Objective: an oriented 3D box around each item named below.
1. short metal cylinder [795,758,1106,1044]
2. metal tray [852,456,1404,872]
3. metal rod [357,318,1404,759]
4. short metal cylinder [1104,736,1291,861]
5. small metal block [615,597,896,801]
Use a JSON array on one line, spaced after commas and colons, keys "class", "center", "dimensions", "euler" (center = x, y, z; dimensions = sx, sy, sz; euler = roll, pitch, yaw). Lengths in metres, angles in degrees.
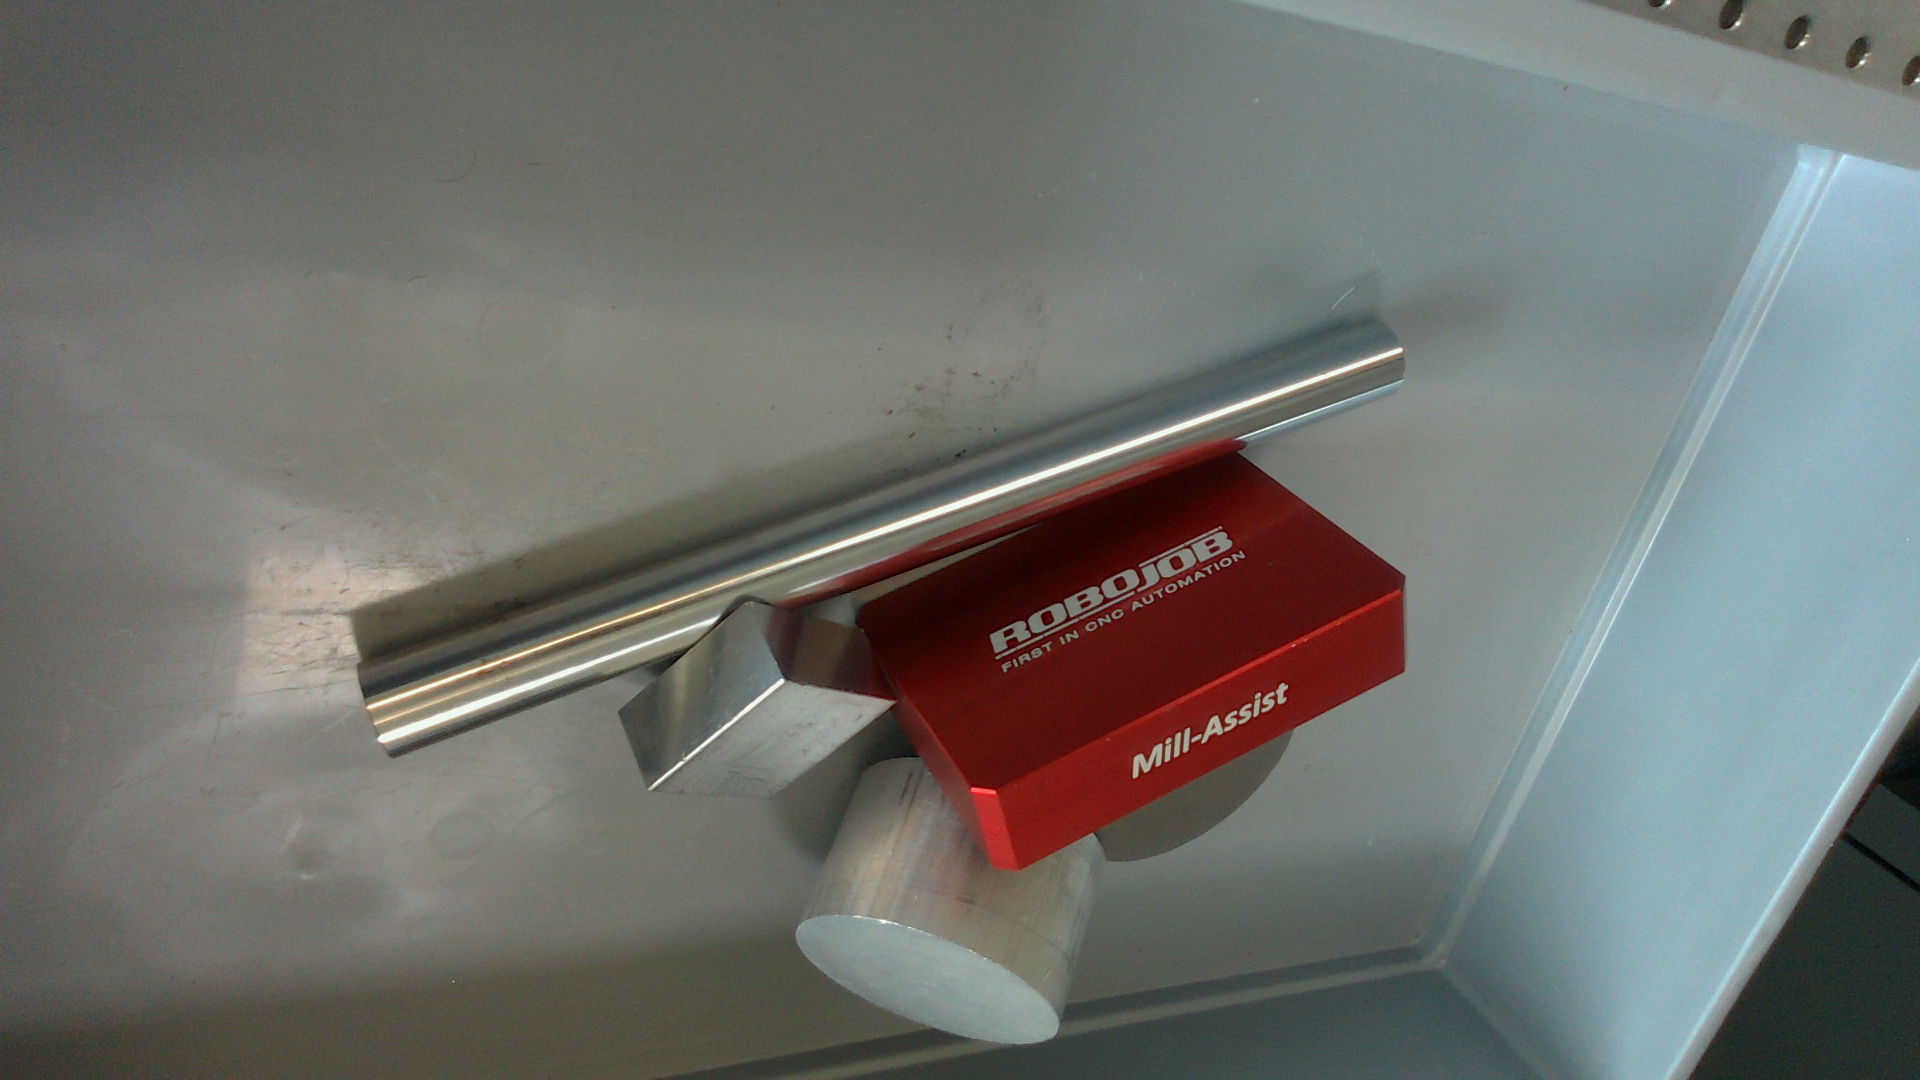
[{"class": "short metal cylinder", "center": [-0.002, 0.108, 0.408], "dimensions": [0.080, 0.080, 0.050], "euler": [56, 44, -39]}, {"class": "metal tray", "center": [0.046, 0.028, 0.388], "dimensions": [0.130, 0.090, 0.030], "euler": [-24, 127, -14]}, {"class": "metal rod", "center": [-0.007, -0.007, 0.379], "dimensions": [0.301, 0.025, 0.025], "euler": [-20, 126, -17]}, {"class": "short metal cylinder", "center": [0.057, 0.053, 0.429], "dimensions": [0.080, 0.050, 0.080], "euler": [-18, 135, -19]}, {"class": "small metal block", "center": [-0.054, 0.044, 0.369], "dimensions": [0.050, 0.025, 0.050], "euler": [-39, 150, 18]}]
